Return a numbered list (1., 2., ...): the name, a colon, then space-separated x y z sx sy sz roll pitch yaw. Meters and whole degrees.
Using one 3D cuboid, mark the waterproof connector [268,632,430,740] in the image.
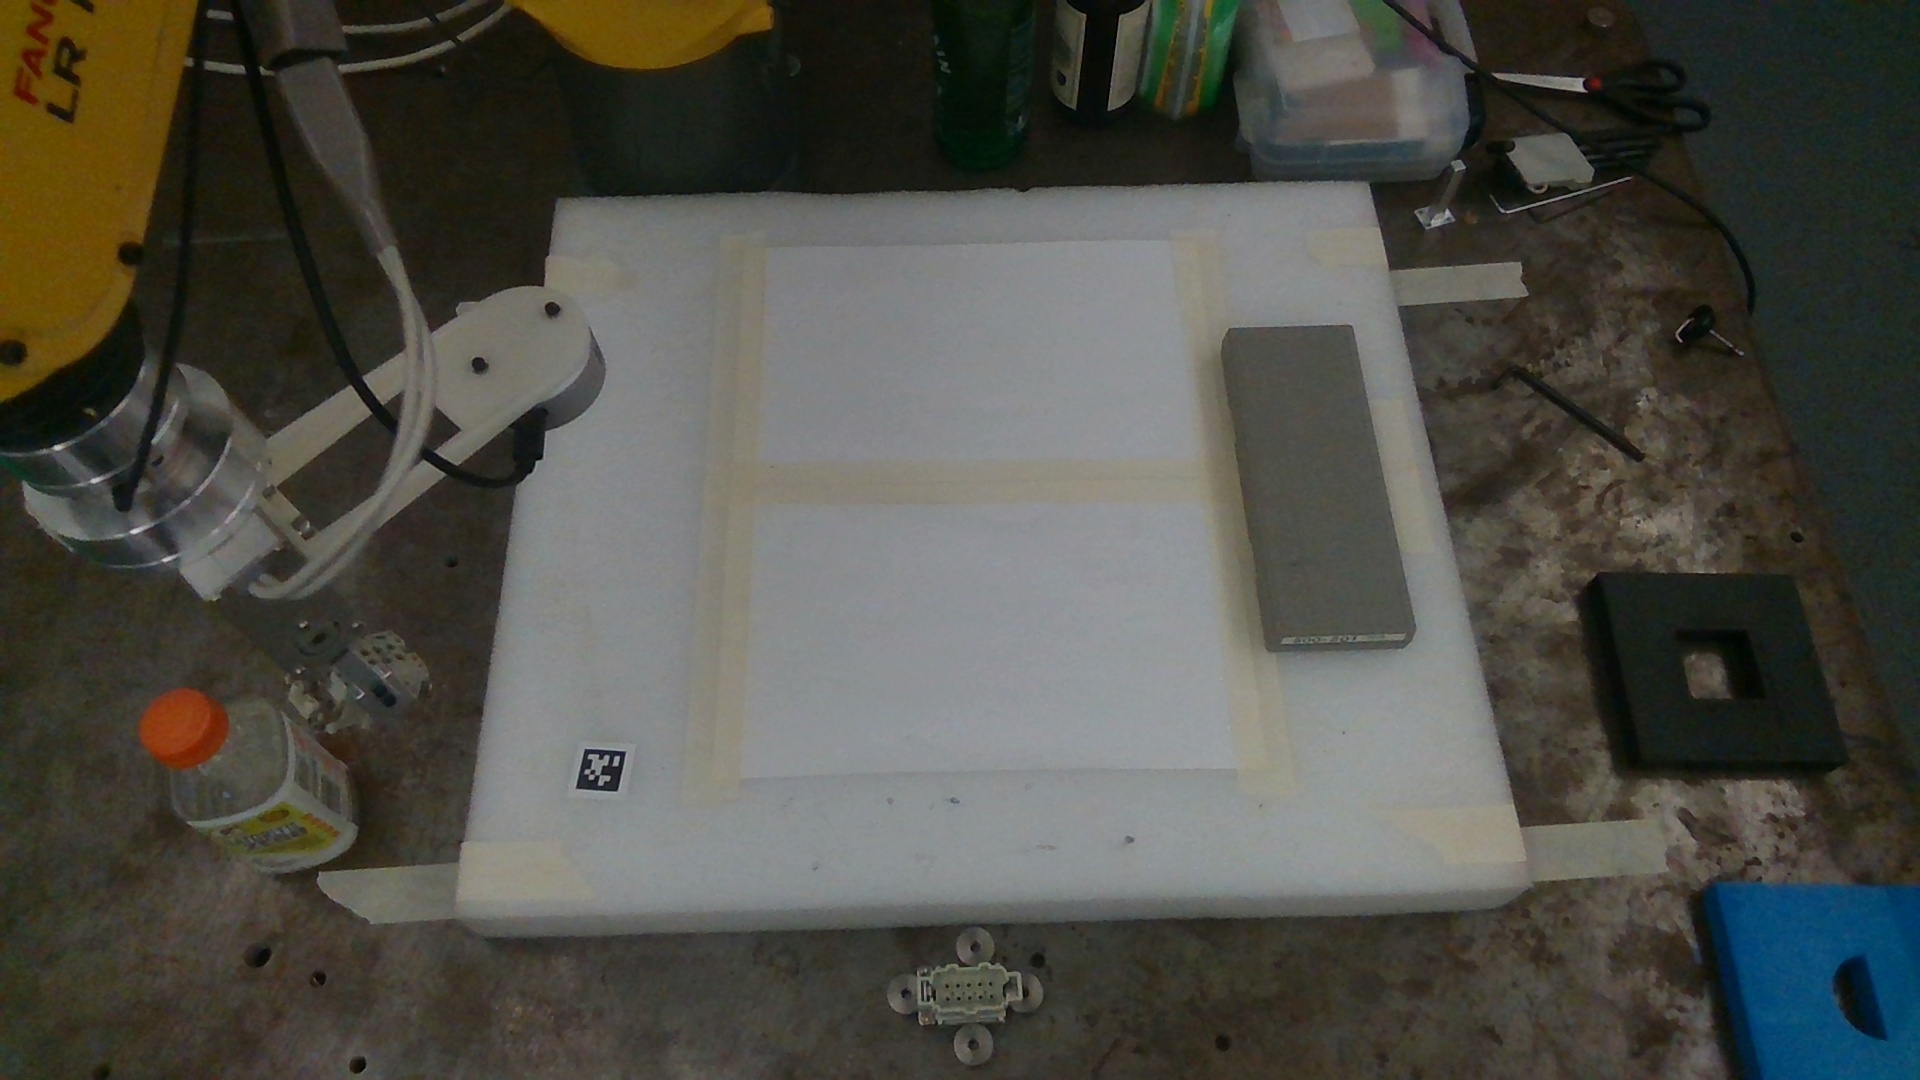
1. waterproof connector: -0.292 0.072 0.666 0.037 0.038 0.069 38 24 22
